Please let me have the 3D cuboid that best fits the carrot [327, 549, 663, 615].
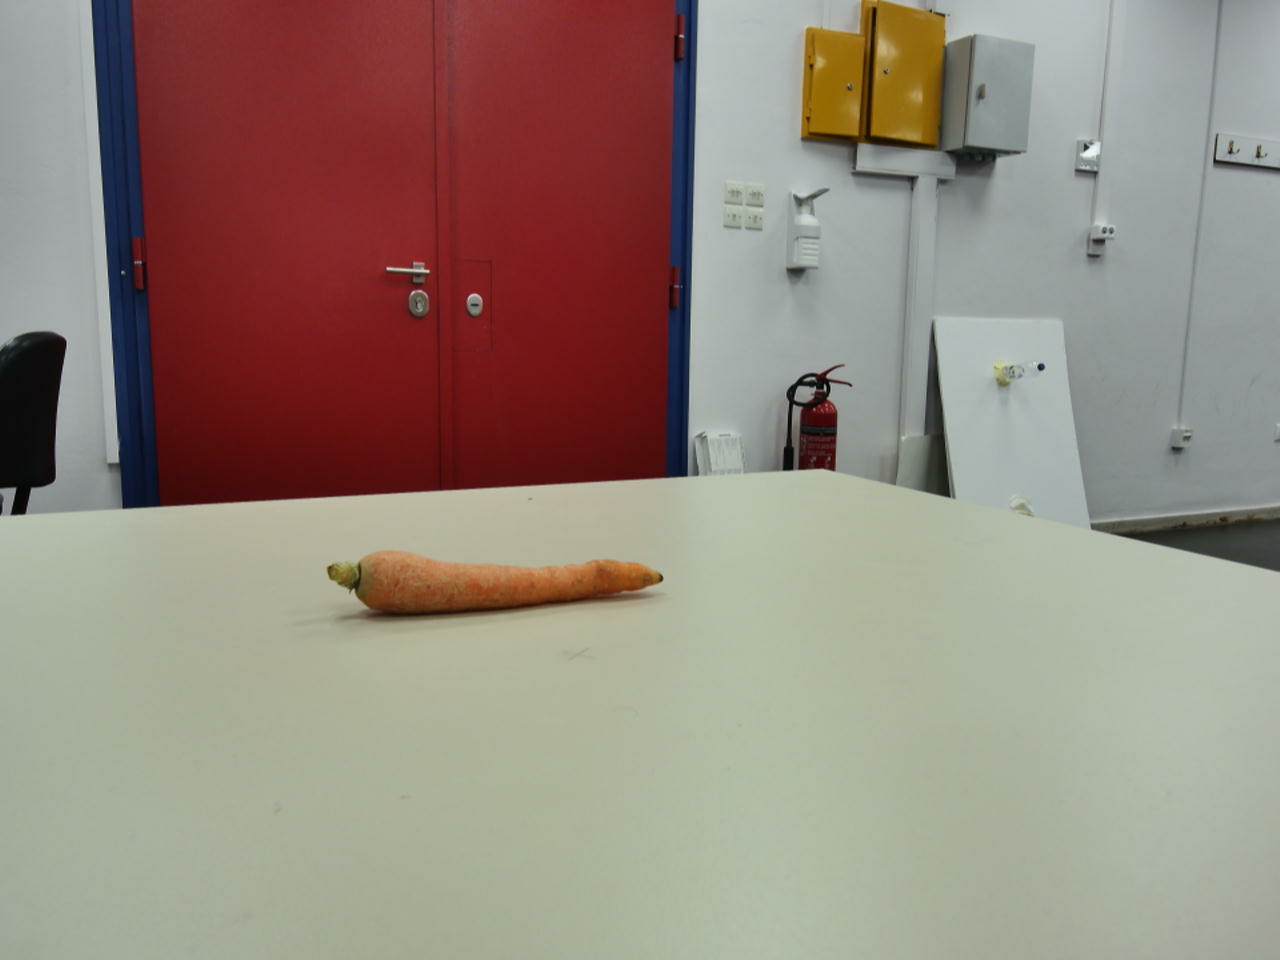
[{"bbox_3d":[-0.069,0.049,0.509,0.173,0.032,0.030,-2,7,-16],"label":"carrot"}]
